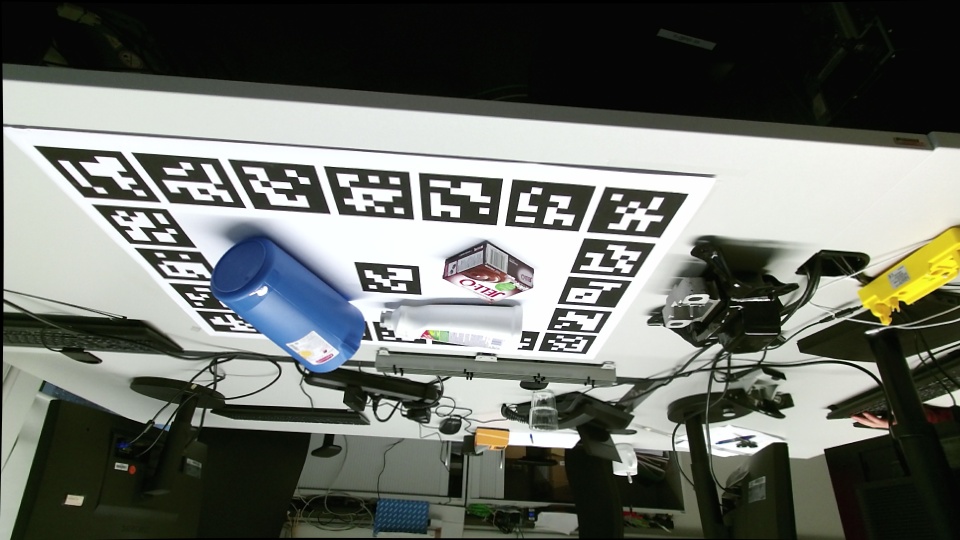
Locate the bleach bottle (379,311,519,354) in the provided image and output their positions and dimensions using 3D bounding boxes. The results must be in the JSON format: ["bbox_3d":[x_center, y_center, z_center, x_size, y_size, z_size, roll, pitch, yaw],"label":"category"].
[{"bbox_3d":[-0.059,0.113,0.976,0.252,0.067,0.103,4,144,3],"label":"bleach bottle"}]

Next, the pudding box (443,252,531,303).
[{"bbox_3d":[0.011,0.020,0.833,0.090,0.038,0.114,-18,141,39],"label":"pudding box"}]

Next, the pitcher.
[{"bbox_3d":[-0.314,0.053,0.871,0.188,0.133,0.243,24,157,37],"label":"pitcher"}]
